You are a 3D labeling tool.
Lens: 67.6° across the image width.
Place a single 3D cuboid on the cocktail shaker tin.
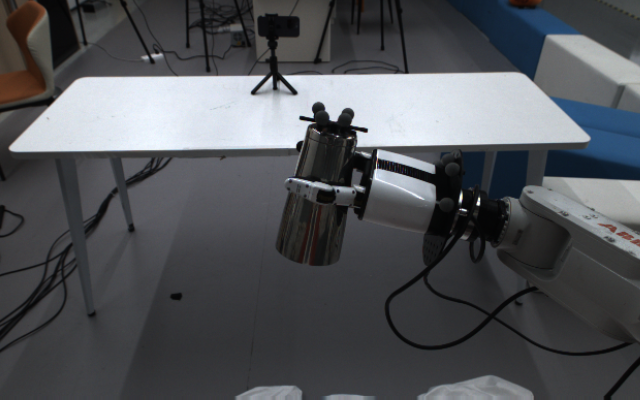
[{"bbox_3d":[0.000,-0.010,0.643,0.093,0.170,0.093,11,19,-4],"label":"cocktail shaker tin"}]
